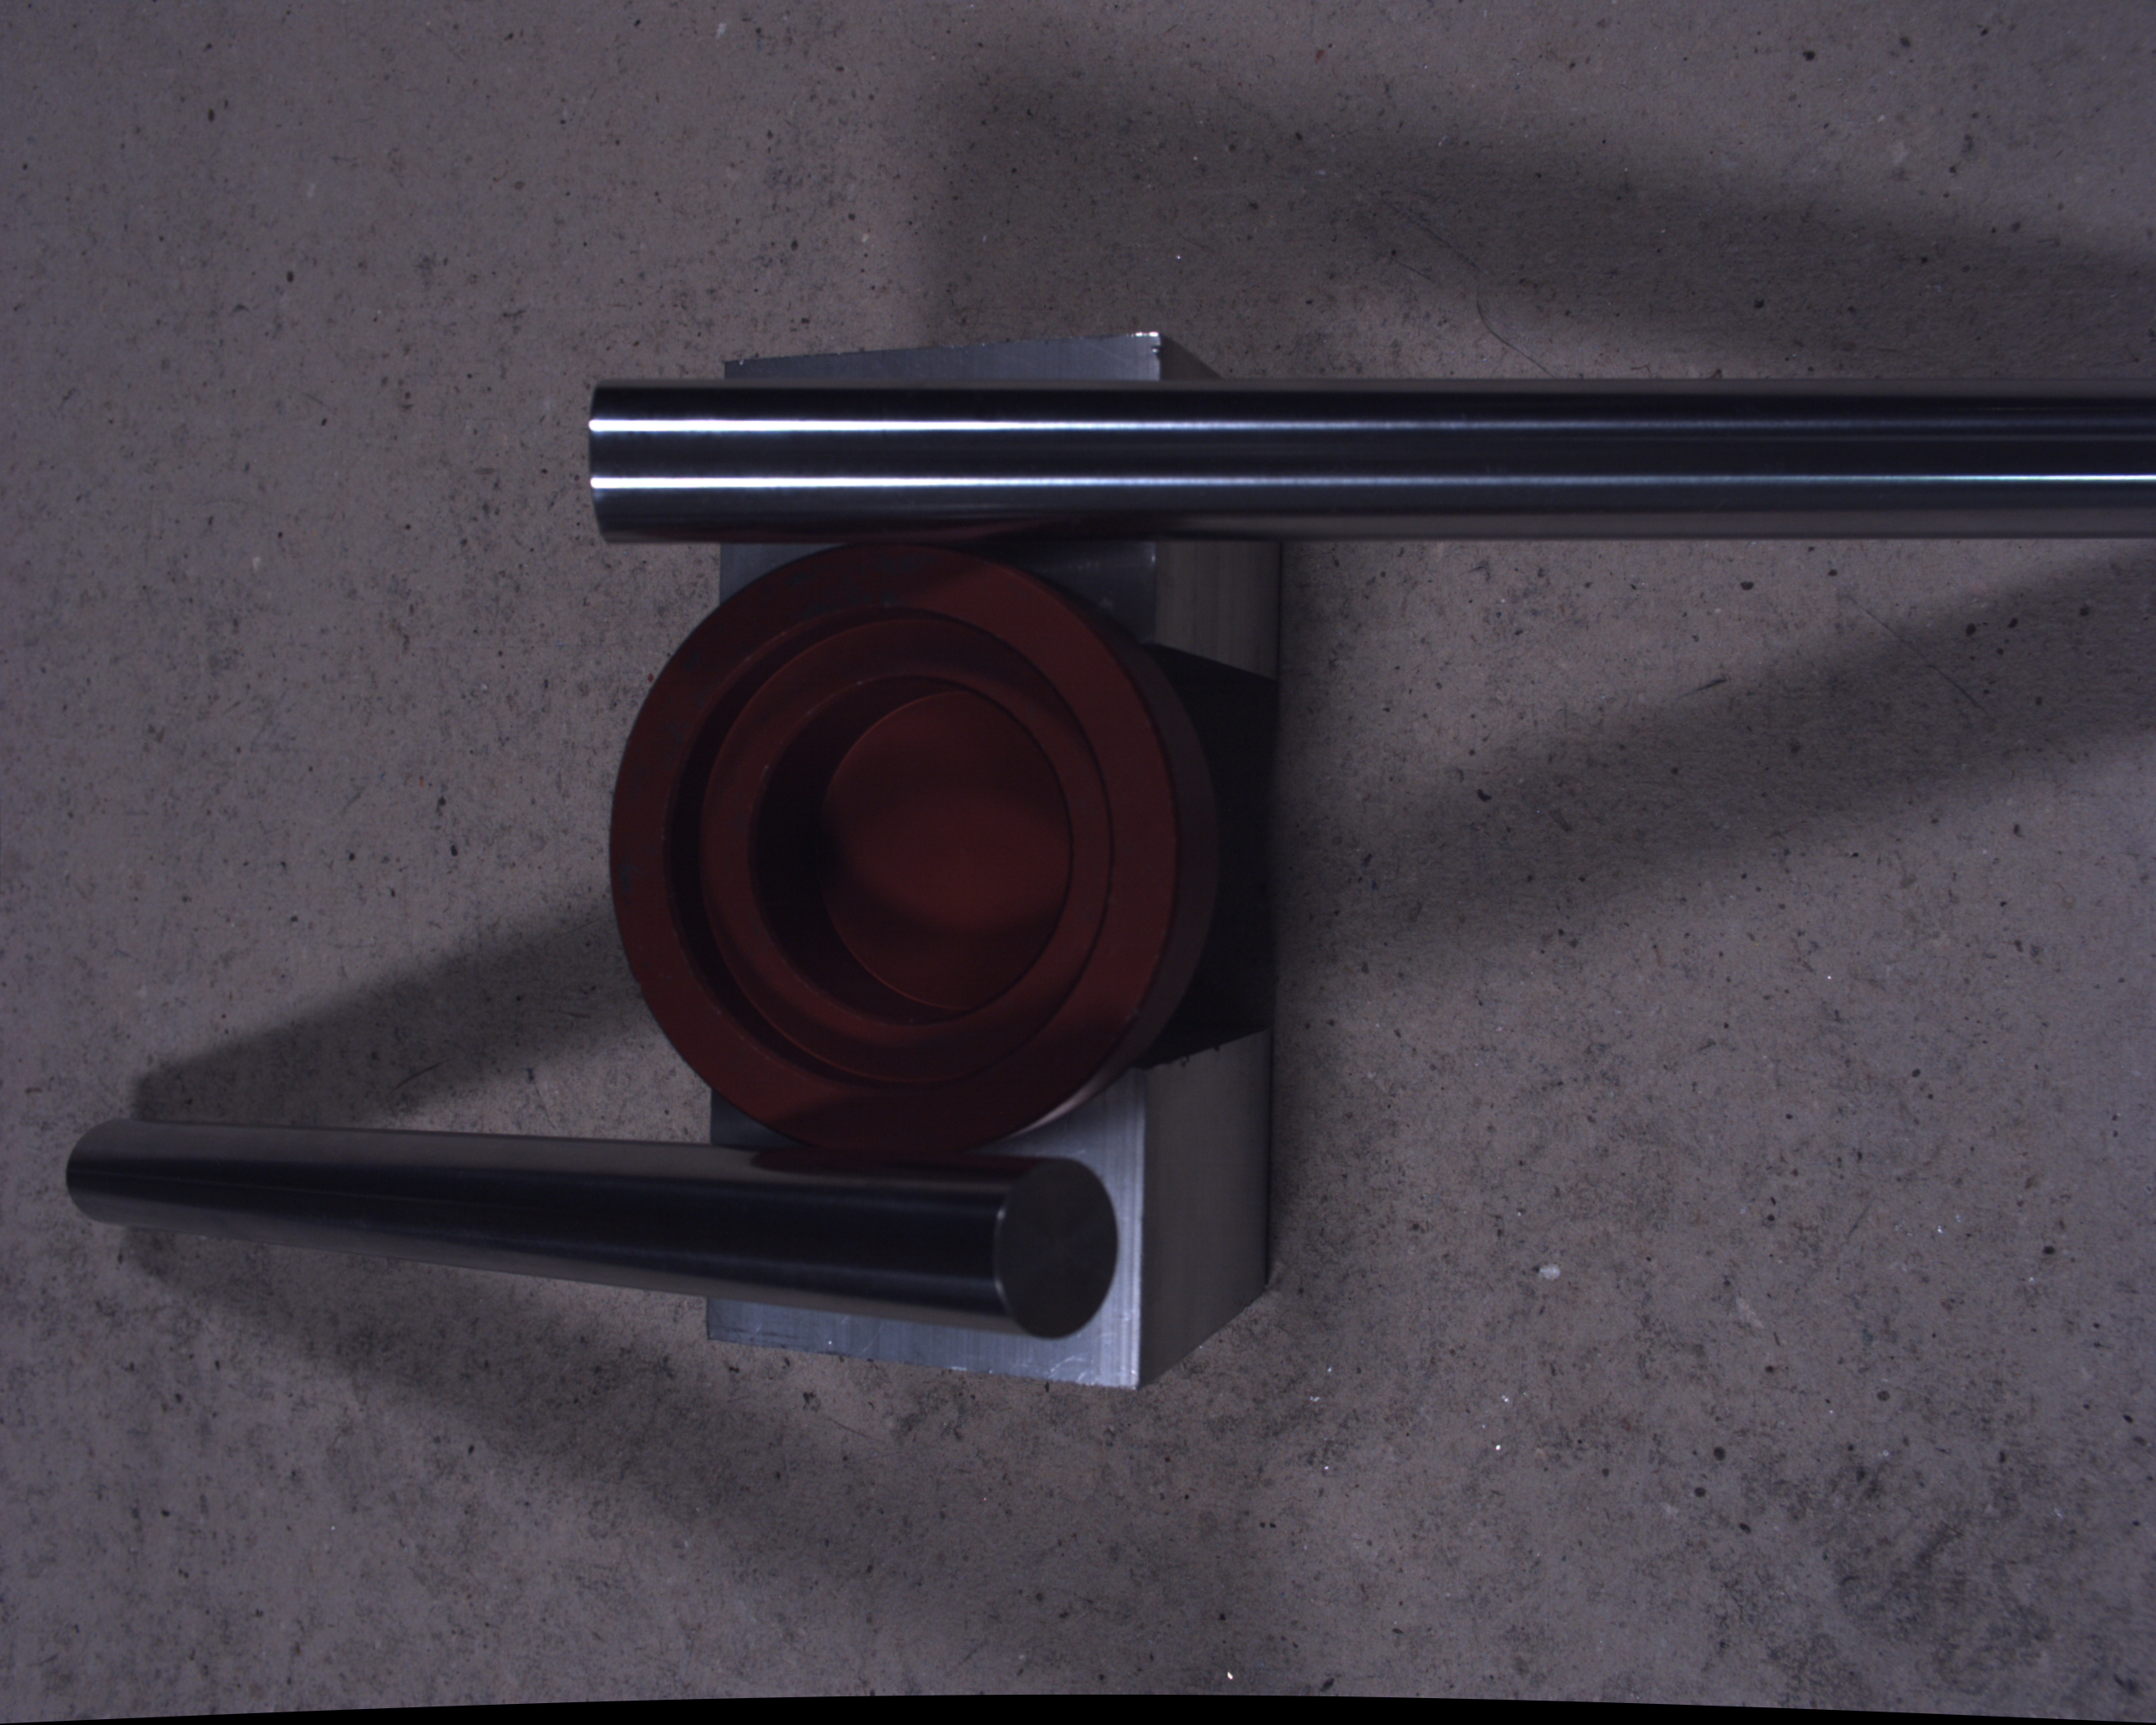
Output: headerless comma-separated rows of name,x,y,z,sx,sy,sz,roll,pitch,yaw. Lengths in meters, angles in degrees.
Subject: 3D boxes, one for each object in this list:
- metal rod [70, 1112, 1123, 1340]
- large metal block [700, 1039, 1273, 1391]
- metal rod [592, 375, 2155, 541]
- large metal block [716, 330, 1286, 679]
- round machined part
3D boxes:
metal rod,-0.113,0.062,0.390,0.300,0.025,0.025,-5,89,42
large metal block,-0.013,0.059,0.385,0.080,0.080,0.050,1,91,19
metal rod,0.079,-0.063,0.325,0.302,0.025,0.025,-1,90,-3
large metal block,-0.011,-0.061,0.384,0.080,0.080,0.050,1,91,19
round machined part,-0.024,-0.002,0.346,0.098,0.042,0.097,0,90,19
